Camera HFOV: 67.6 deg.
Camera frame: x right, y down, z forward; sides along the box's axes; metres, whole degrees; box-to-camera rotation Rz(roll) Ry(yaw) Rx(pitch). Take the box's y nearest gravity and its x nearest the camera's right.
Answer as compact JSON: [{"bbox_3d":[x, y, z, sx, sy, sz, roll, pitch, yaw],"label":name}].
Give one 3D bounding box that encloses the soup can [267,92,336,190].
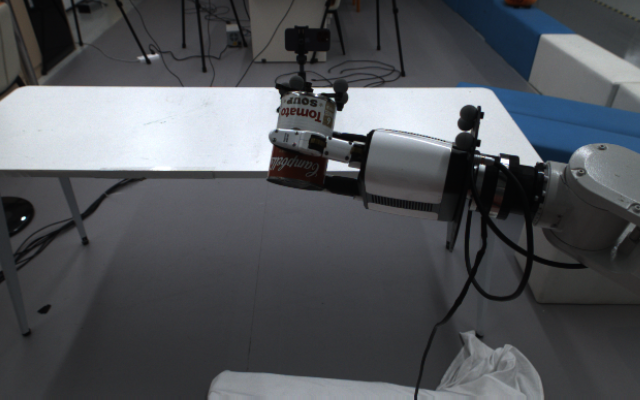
[{"bbox_3d":[-0.020,-0.067,0.564,0.067,0.101,0.067,9,-5,1],"label":"soup can"}]
